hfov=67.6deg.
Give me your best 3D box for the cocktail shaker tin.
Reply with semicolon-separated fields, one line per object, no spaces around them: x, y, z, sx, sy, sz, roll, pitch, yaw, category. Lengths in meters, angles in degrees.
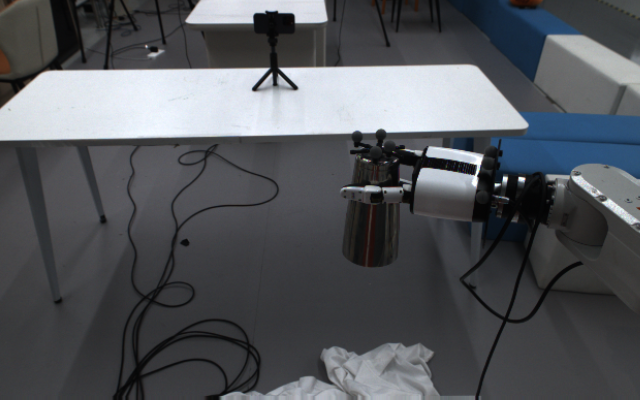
0.086;0.006;0.761;0.093;0.170;0.093;1;27;-1;cocktail shaker tin
